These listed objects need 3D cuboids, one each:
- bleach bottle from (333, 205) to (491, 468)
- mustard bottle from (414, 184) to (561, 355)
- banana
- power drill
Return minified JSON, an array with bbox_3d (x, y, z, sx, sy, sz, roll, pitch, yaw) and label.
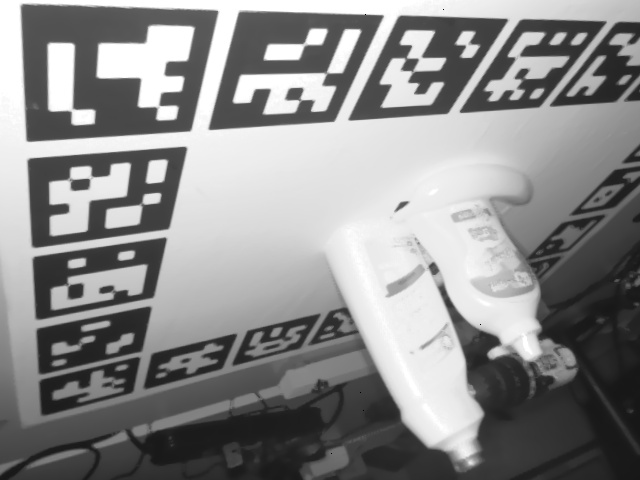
[{"bbox_3d":[0.099,0.085,0.654,0.104,0.251,0.067,-3,147,-32],"label":"bleach bottle"},{"bbox_3d":[0.171,0.024,0.663,0.098,0.191,0.057,-4,142,-29],"label":"mustard bottle"},{"bbox_3d":[0.168,-0.062,0.699,0.200,0.039,0.073,-4,140,-35],"label":"banana"},{"bbox_3d":[0.190,0.082,0.720,0.187,0.187,0.056,6,138,-38],"label":"power drill"}]
